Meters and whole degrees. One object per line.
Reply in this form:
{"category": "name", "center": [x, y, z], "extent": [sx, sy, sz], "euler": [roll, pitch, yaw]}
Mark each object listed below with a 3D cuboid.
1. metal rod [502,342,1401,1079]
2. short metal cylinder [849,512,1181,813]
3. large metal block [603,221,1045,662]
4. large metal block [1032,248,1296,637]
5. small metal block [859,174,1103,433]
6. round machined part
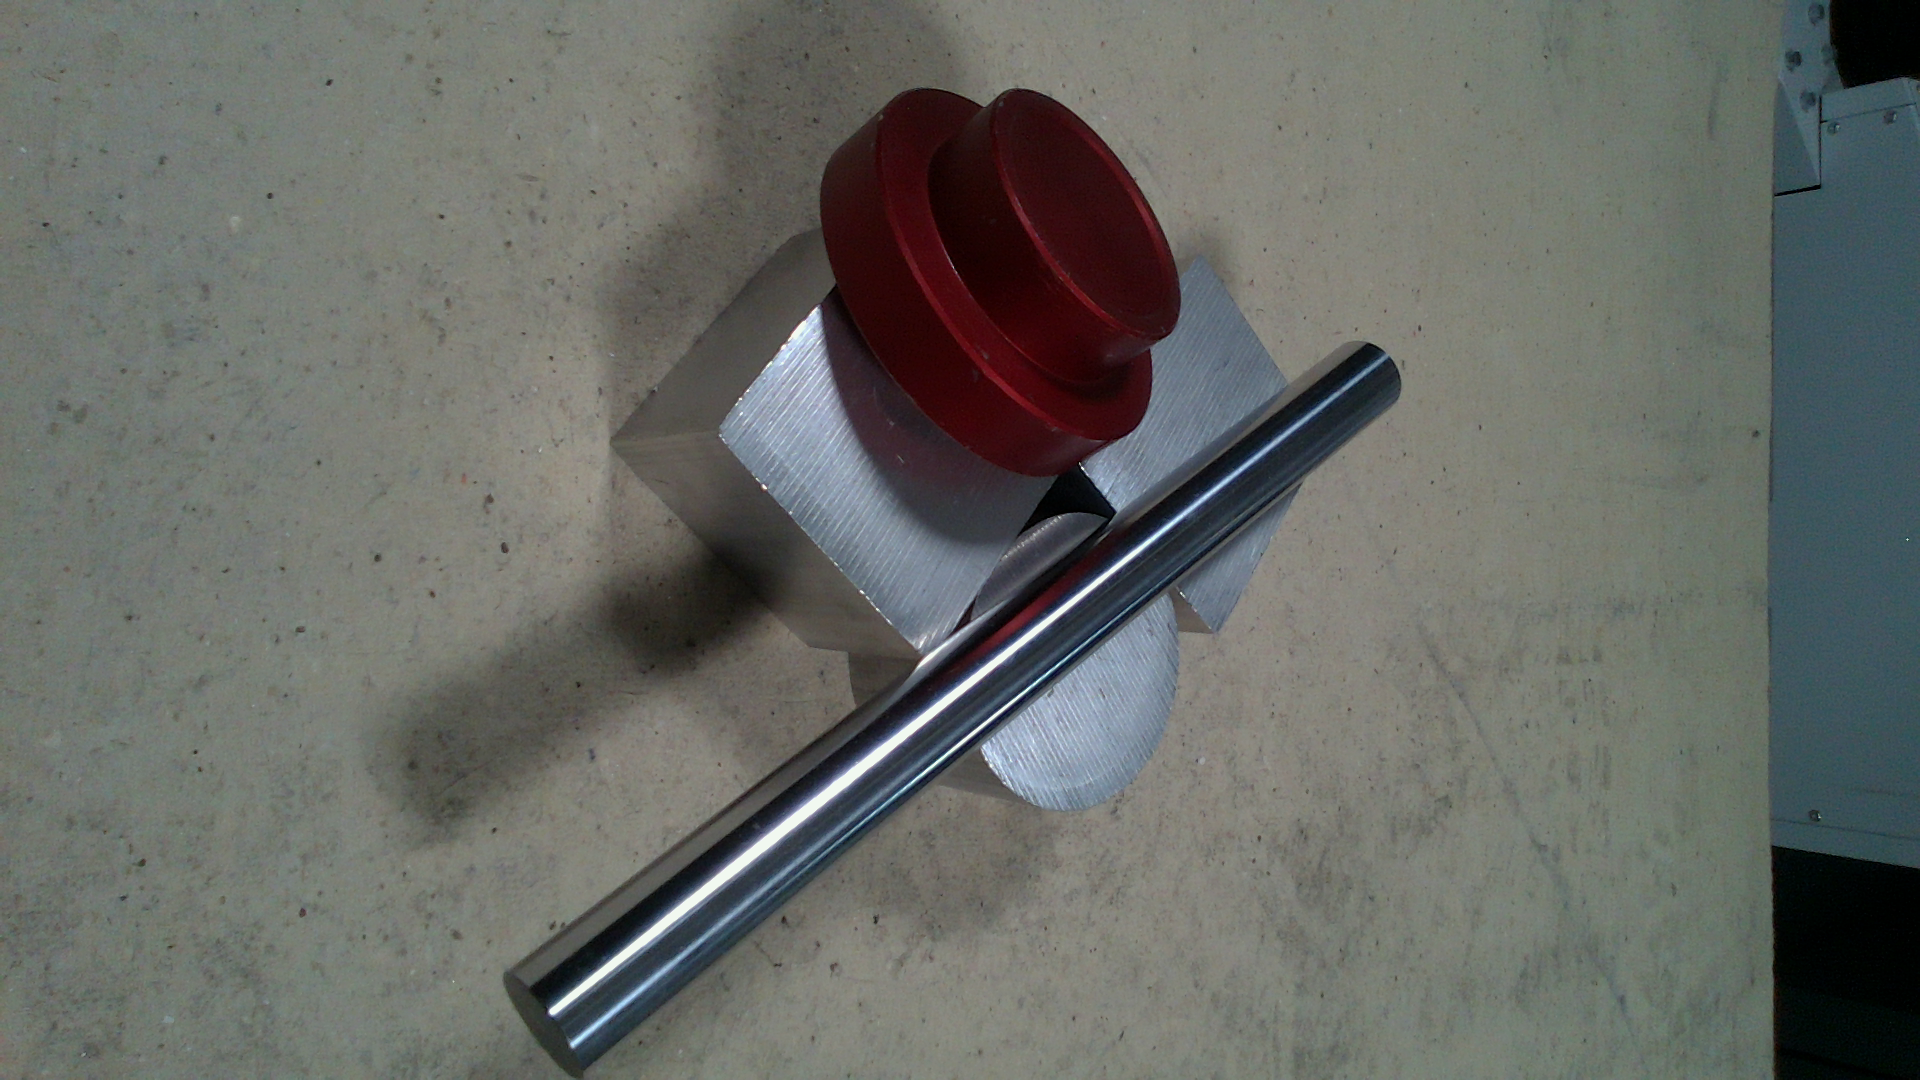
{"category": "metal rod", "center": [0.024, 0.021, 0.344], "extent": [0.301, 0.025, 0.025], "euler": [-35, 111, -34]}
{"category": "short metal cylinder", "center": [0.016, 0.032, 0.386], "extent": [0.080, 0.050, 0.080], "euler": [0, 90, -40]}
{"category": "large metal block", "center": [-0.027, -0.027, 0.349], "extent": [0.080, 0.050, 0.080], "euler": [50, 61, -28]}
{"category": "large metal block", "center": [0.056, -0.028, 0.420], "extent": [0.080, 0.050, 0.080], "euler": [49, 61, -29]}
{"category": "small metal block", "center": [0.007, -0.067, 0.394], "extent": [0.050, 0.025, 0.050], "euler": [50, 61, -28]}
{"category": "round machined part", "center": [0.016, -0.068, 0.334], "extent": [0.098, 0.042, 0.098], "euler": [32, 42, -34]}
